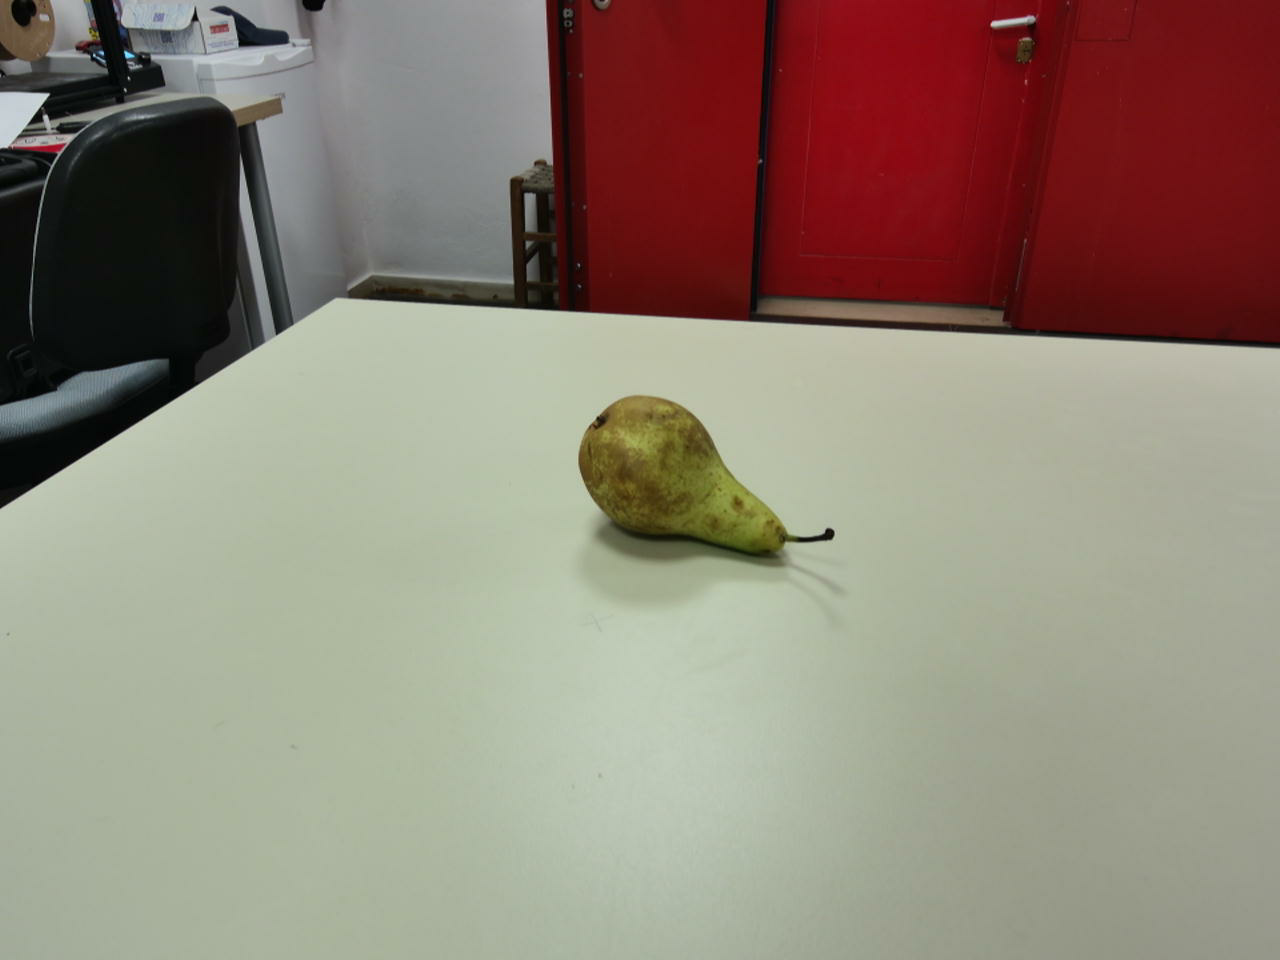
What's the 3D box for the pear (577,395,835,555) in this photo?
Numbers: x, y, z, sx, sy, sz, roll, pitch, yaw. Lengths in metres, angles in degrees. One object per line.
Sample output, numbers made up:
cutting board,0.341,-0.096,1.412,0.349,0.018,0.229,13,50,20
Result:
pear,0.037,-0.004,0.528,0.144,0.075,0.071,8,27,18
